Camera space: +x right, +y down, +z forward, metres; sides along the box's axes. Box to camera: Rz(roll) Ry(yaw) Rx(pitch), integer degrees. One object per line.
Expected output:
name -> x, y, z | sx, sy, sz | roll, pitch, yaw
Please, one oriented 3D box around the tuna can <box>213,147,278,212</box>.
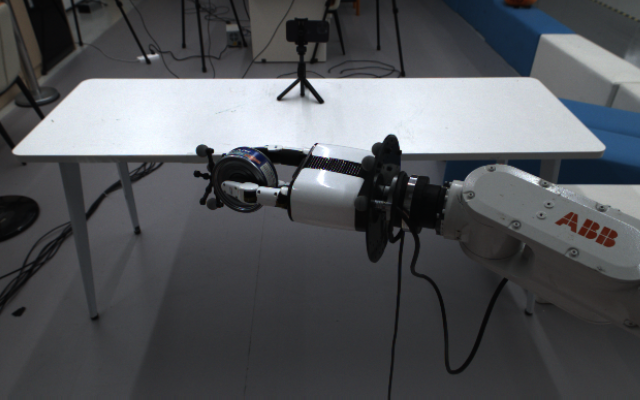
tuna can -> -0.100, -0.028, 0.655 | 0.085, 0.085, 0.034 | 12, 28, 14
